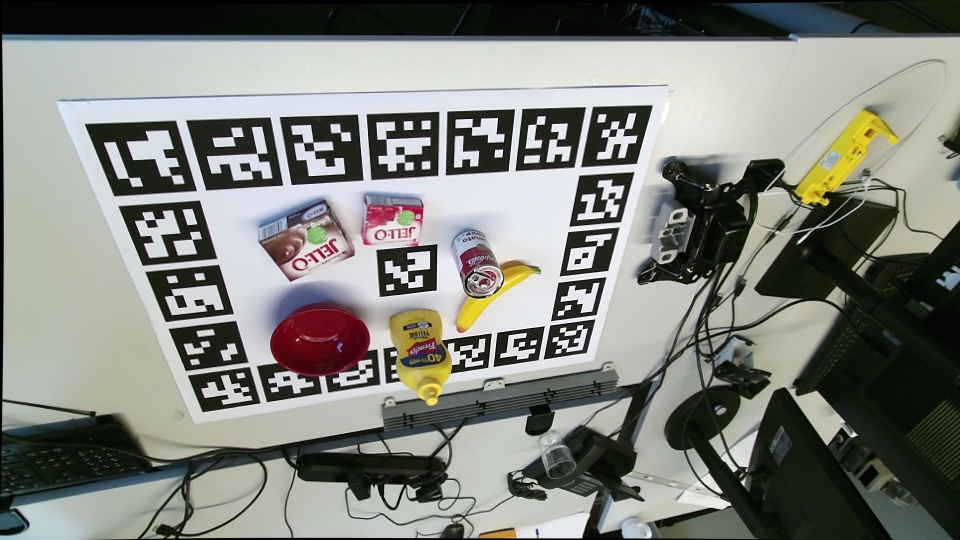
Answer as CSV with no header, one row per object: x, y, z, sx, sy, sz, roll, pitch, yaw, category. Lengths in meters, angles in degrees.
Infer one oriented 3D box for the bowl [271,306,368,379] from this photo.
-0.278,0.115,0.924,0.162,0.055,0.162,-10,130,-13,bowl

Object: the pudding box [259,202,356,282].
-0.259,-0.040,0.816,0.114,0.038,0.090,-25,125,1,pudding box

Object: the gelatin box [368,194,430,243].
-0.127,-0.079,0.836,0.090,0.030,0.073,-1,123,-19,gelatin box

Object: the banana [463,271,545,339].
0.030,0.060,0.991,0.197,0.038,0.074,-43,137,16,banana

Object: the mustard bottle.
-0.093,0.159,0.913,0.096,0.190,0.058,-6,130,-14,mustard bottle

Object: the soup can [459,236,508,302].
0.008,-0.001,0.883,0.068,0.101,0.068,-8,130,-10,soup can
